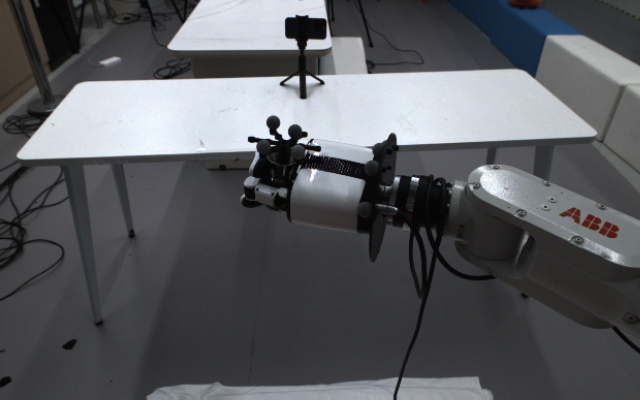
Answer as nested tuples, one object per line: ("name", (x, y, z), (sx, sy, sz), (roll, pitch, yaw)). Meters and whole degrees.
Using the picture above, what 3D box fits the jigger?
("jigger", (-0.047, -0.025, 0.617), (0.043, 0.071, 0.043), (6, 32, -4))
